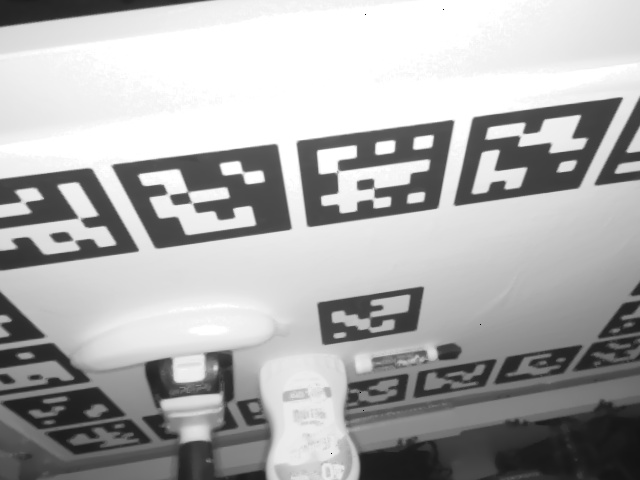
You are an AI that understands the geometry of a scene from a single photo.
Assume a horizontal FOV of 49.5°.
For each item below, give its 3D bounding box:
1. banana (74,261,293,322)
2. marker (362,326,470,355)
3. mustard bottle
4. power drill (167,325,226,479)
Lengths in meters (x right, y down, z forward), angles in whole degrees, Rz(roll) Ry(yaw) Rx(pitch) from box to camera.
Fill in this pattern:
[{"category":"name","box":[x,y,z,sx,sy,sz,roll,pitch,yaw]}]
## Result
[{"category":"banana","box":[-0.121,0.049,0.624,0.199,0.039,0.073,-4,141,-11]},{"category":"marker","box":[0.107,0.111,0.770,0.121,0.020,0.019,-6,142,-5]},{"category":"mustard bottle","box":[-0.008,0.190,0.702,0.097,0.192,0.058,0,142,-11]},{"category":"power drill","box":[-0.114,0.178,0.635,0.058,0.188,0.182,2,144,-12]}]
